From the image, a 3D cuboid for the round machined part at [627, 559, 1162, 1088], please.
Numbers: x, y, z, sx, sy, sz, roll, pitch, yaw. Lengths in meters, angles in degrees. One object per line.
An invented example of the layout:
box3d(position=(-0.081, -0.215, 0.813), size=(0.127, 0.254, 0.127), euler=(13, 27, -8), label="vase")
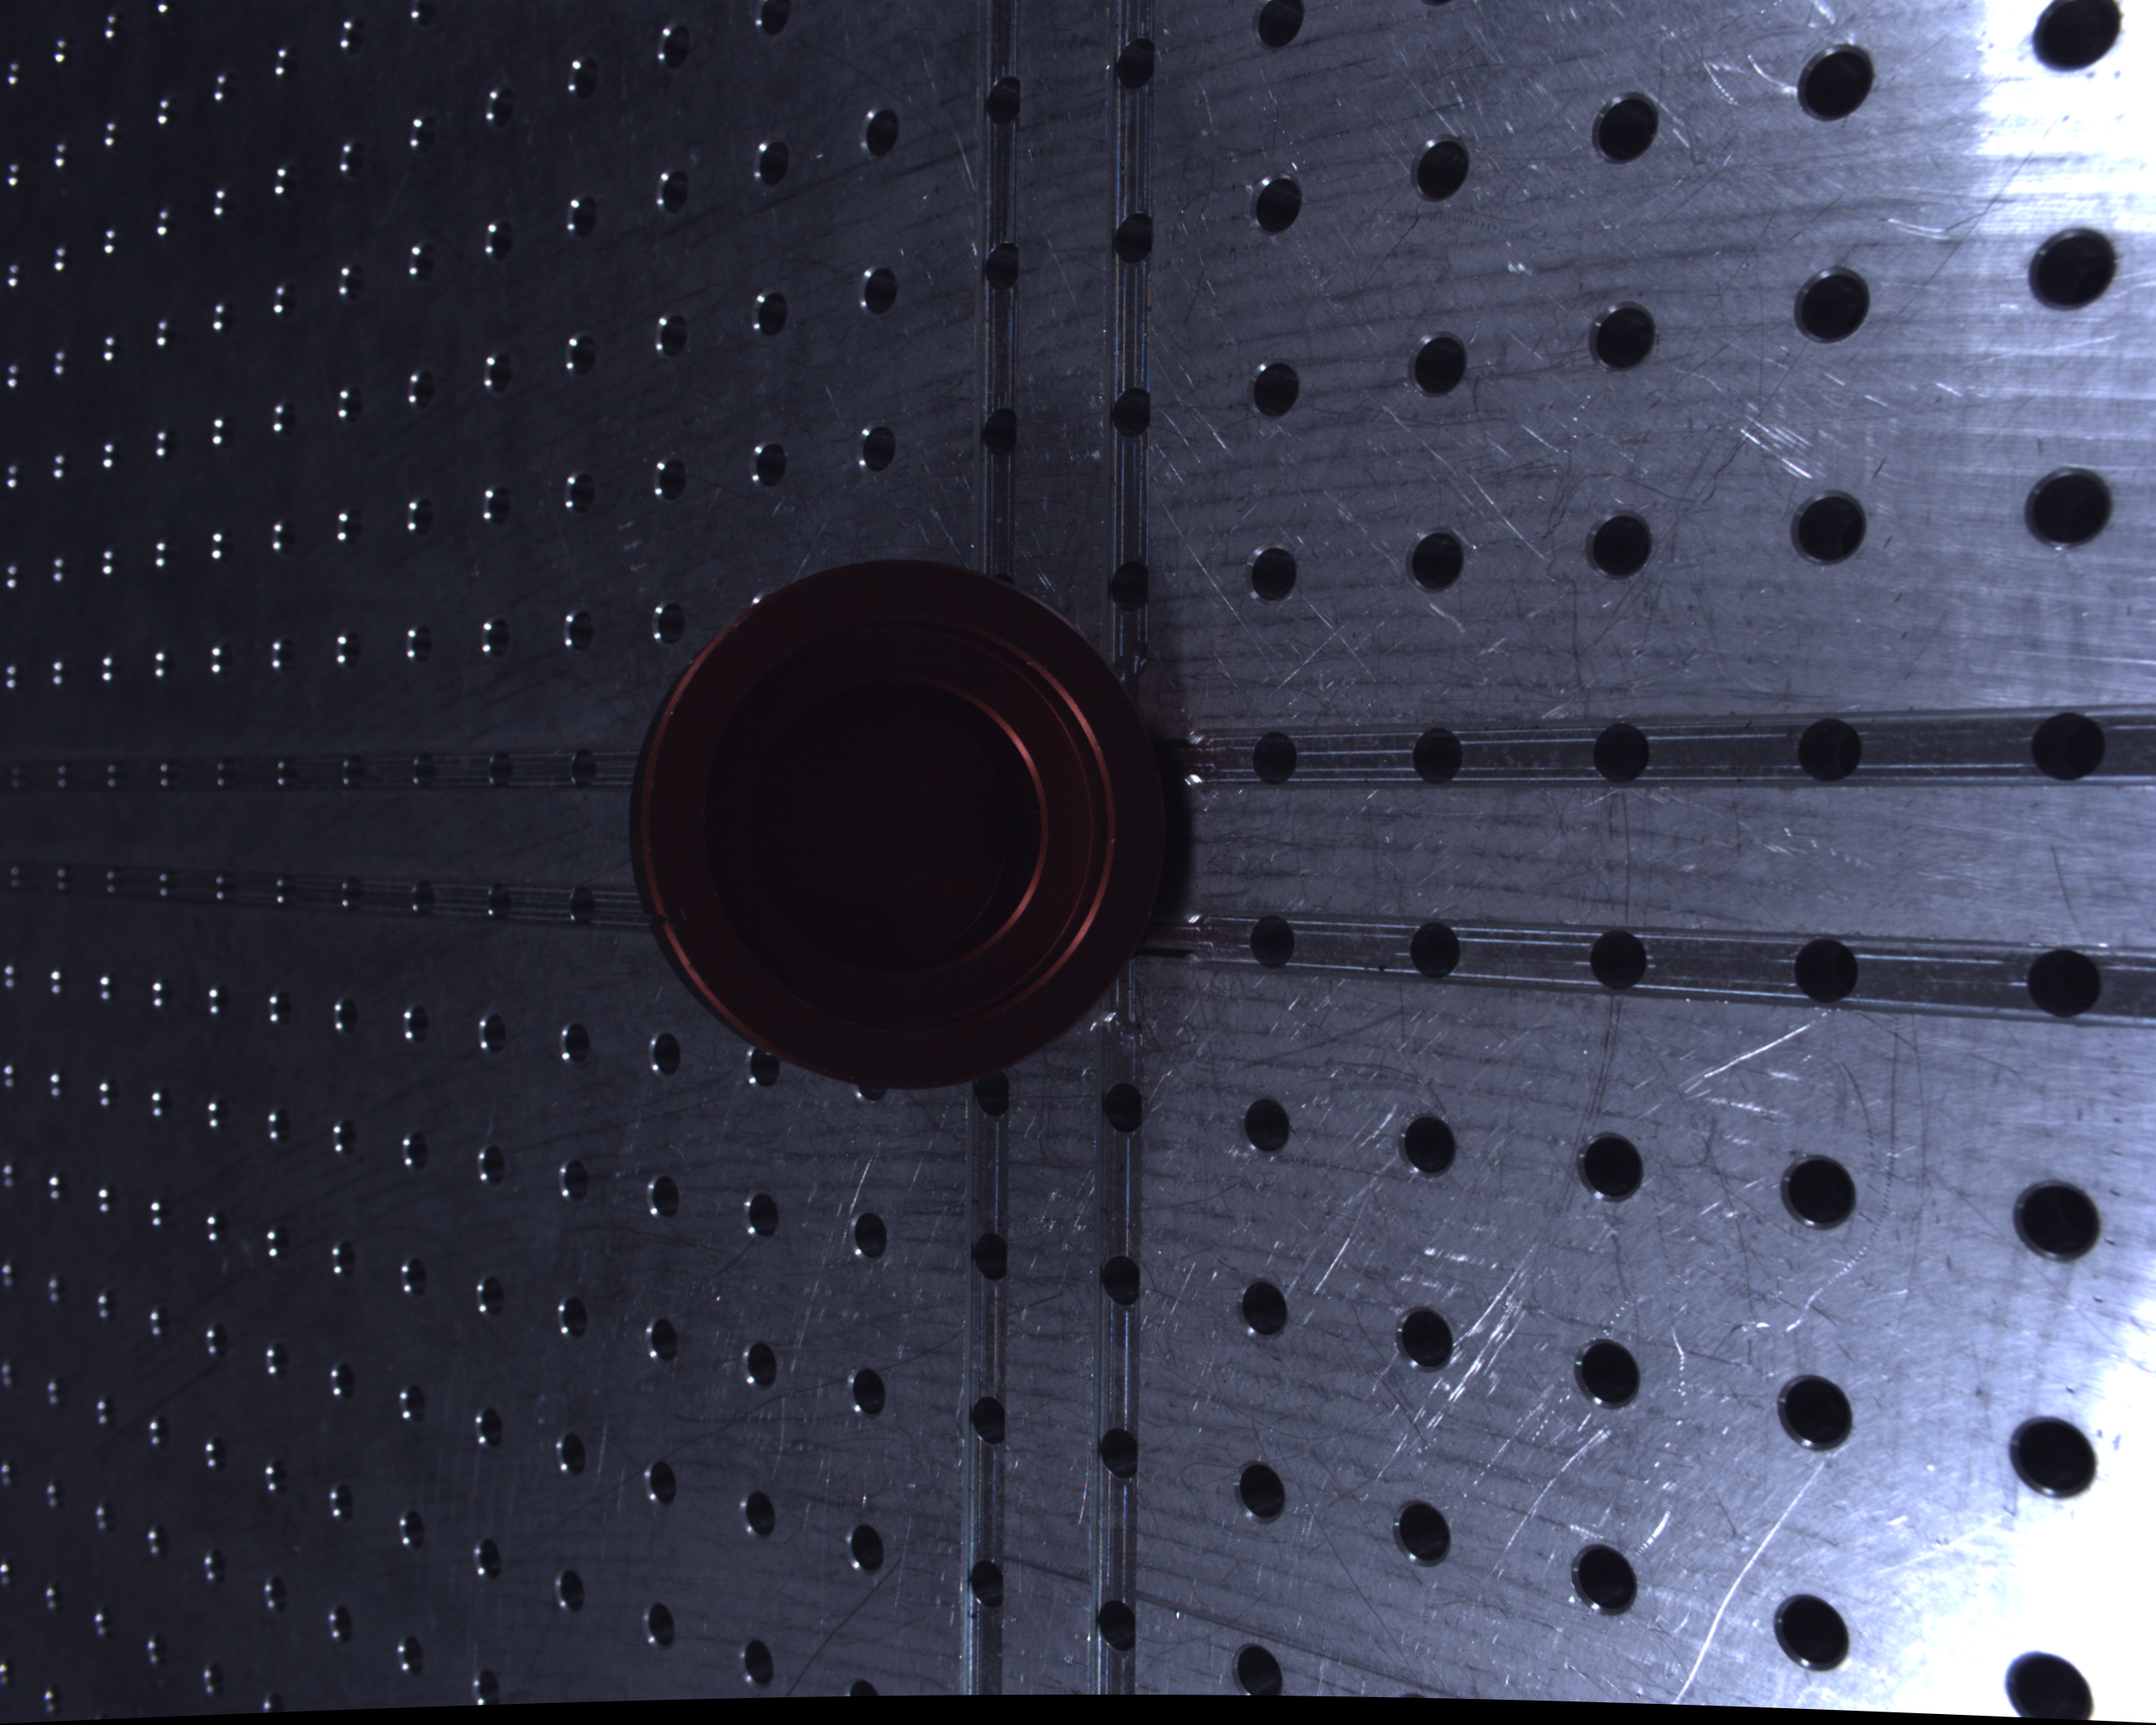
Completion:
box3d(position=(-0.037, -0.007, 0.402), size=(0.042, 0.099, 0.097), euler=(173, 95, -71), label="round machined part")
